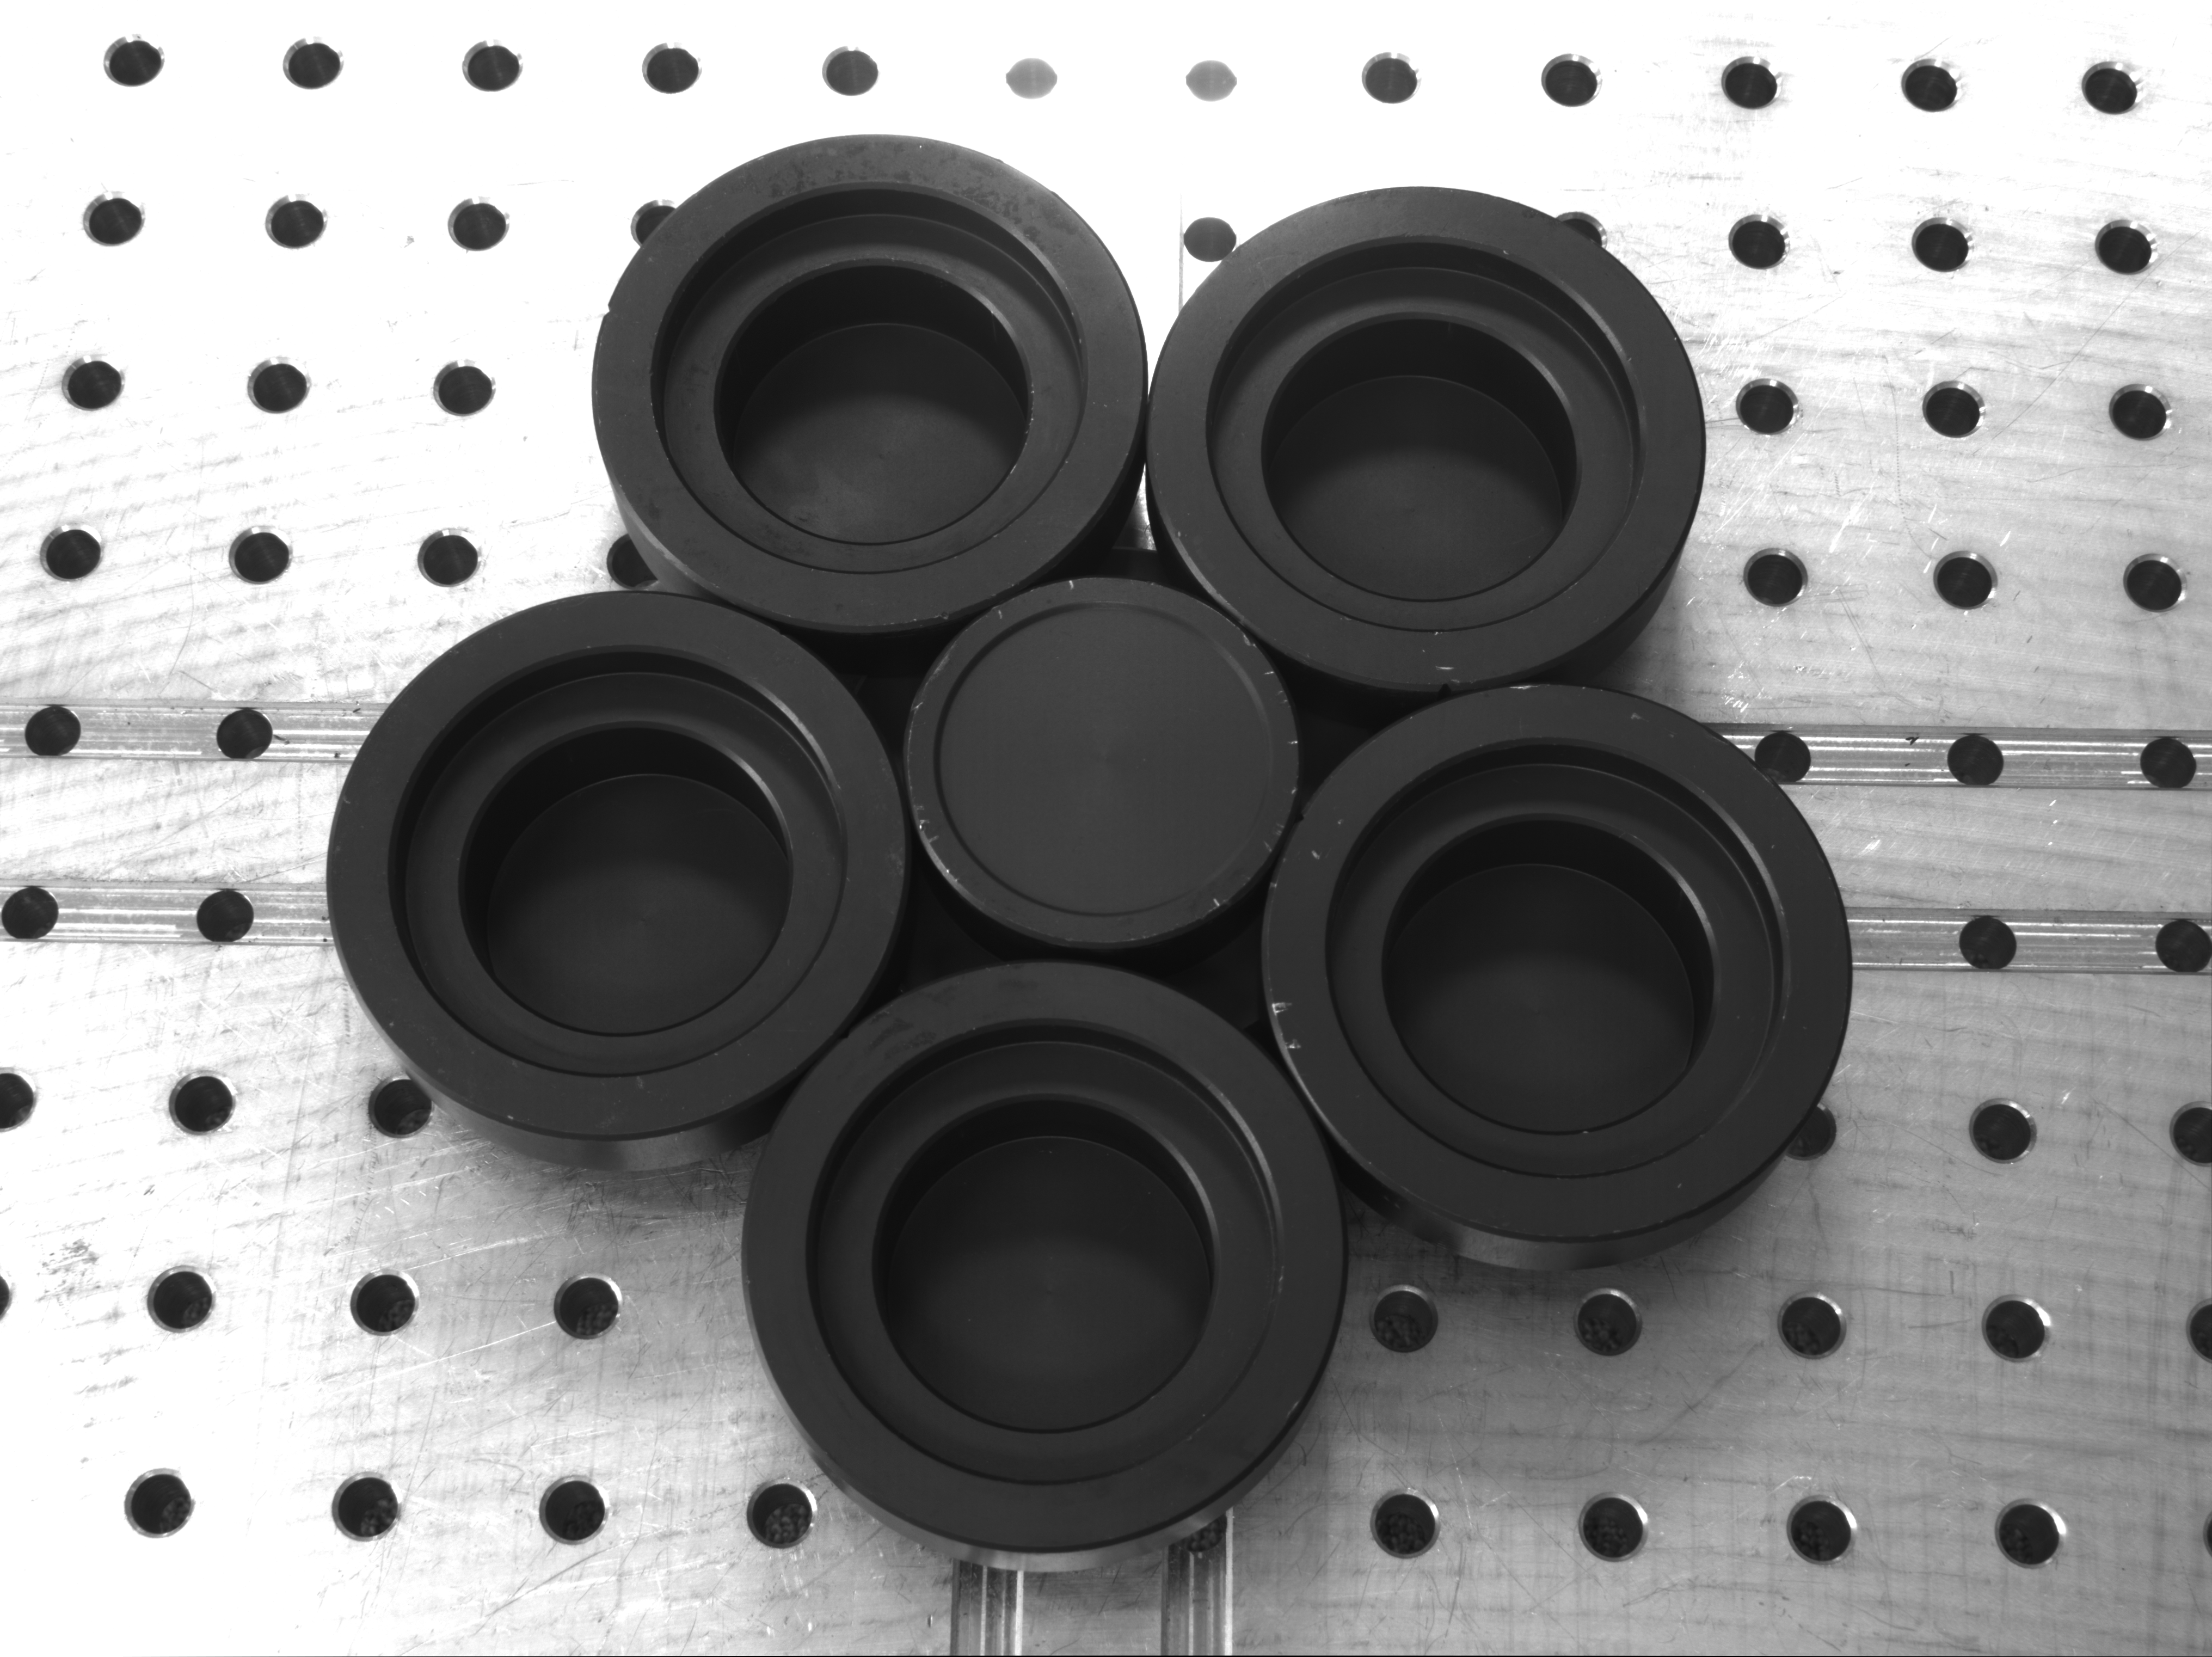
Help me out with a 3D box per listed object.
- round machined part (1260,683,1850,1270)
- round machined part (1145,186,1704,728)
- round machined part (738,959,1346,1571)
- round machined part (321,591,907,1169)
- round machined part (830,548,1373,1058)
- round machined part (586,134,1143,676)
[{"bbox_3d":[0.075,0.028,0.628,0.098,0.042,0.098,0,70,0],"label":"round machined part"},{"bbox_3d":[0.056,-0.063,0.661,0.098,0.042,0.098,0,70,0],"label":"round machined part"},{"bbox_3d":[-0.010,0.074,0.611,0.098,0.042,0.098,0,70,0],"label":"round machined part"},{"bbox_3d":[-0.082,0.012,0.634,0.098,0.042,0.098,0,70,0],"label":"round machined part"},{"bbox_3d":[-0.001,-0.005,0.640,0.098,0.042,0.098,0,70,0],"label":"round machined part"},{"bbox_3d":[-0.042,-0.072,0.665,0.098,0.042,0.098,0,70,0],"label":"round machined part"}]
